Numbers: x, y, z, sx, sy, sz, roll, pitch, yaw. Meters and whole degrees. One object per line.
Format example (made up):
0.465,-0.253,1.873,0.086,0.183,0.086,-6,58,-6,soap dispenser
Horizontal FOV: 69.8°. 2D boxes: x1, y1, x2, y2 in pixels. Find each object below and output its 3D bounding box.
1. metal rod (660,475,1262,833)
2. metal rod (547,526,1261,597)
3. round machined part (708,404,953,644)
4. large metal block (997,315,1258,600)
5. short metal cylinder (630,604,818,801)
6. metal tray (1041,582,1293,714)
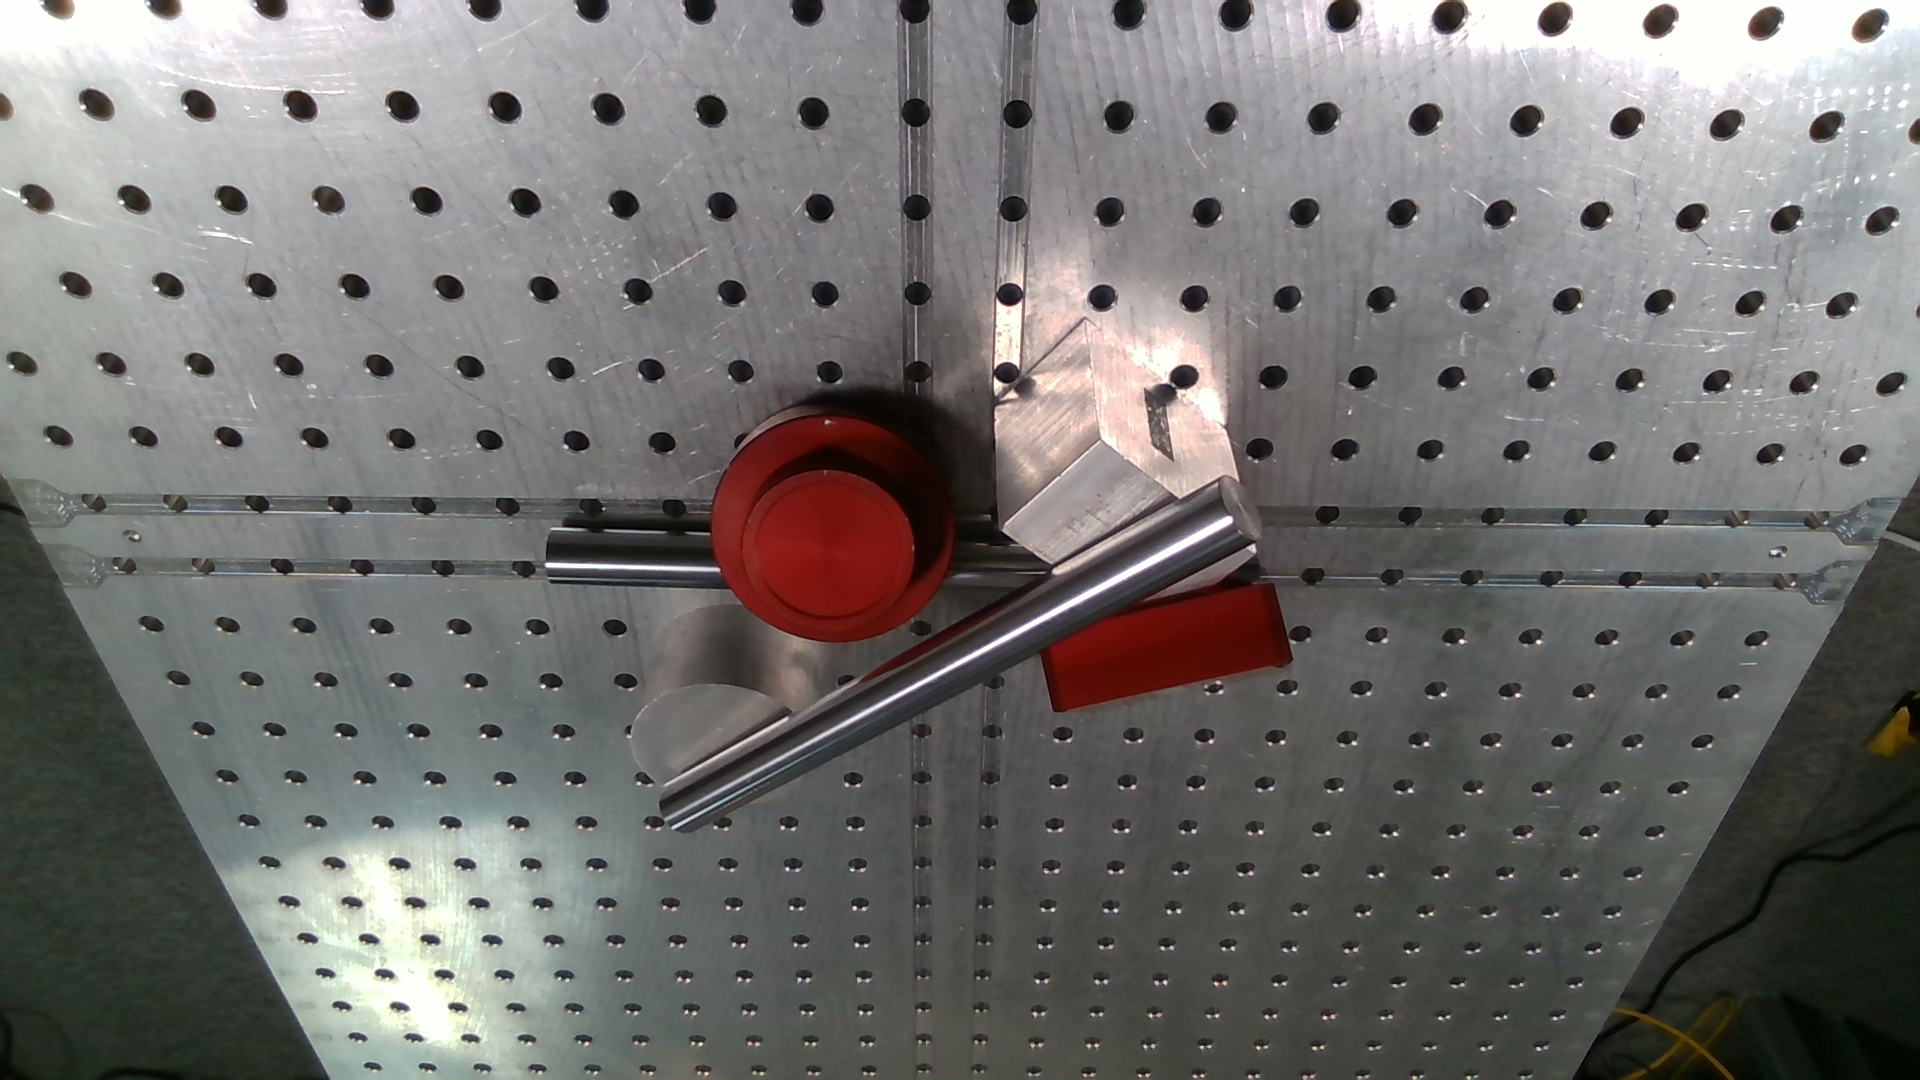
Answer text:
-0.016,0.054,0.536,0.300,0.025,0.025,-31,124,33,metal rod
-0.023,0.011,0.591,0.300,0.025,0.025,2,130,-1,metal rod
-0.052,-0.002,0.549,0.098,0.042,0.098,0,113,0,round machined part
0.062,-0.026,0.526,0.080,0.080,0.050,34,122,-25,large metal block
-0.106,0.076,0.630,0.080,0.050,0.080,0,130,0,short metal cylinder
0.088,0.047,0.568,0.090,0.030,0.130,-14,170,11,metal tray
